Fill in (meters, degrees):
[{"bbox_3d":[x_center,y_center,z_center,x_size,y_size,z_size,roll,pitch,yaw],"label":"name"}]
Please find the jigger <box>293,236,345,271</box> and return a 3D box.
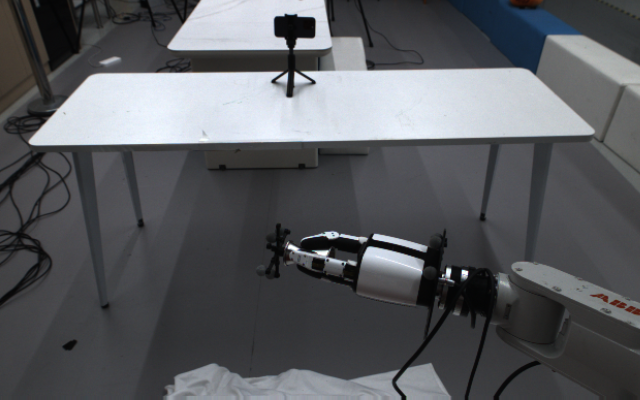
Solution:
[{"bbox_3d":[-0.010,0.080,0.719,0.071,0.043,0.043,8,35,16],"label":"jigger"}]
